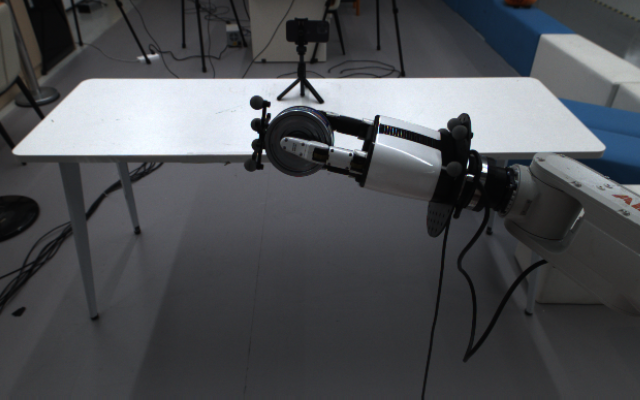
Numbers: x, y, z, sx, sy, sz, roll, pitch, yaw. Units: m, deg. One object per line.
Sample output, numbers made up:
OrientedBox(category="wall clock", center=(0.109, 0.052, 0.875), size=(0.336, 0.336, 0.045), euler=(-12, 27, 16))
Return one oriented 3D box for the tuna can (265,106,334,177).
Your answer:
OrientedBox(category="tuna can", center=(-0.025, -0.075, 0.610), size=(0.085, 0.085, 0.034), euler=(4, 18, 3))
